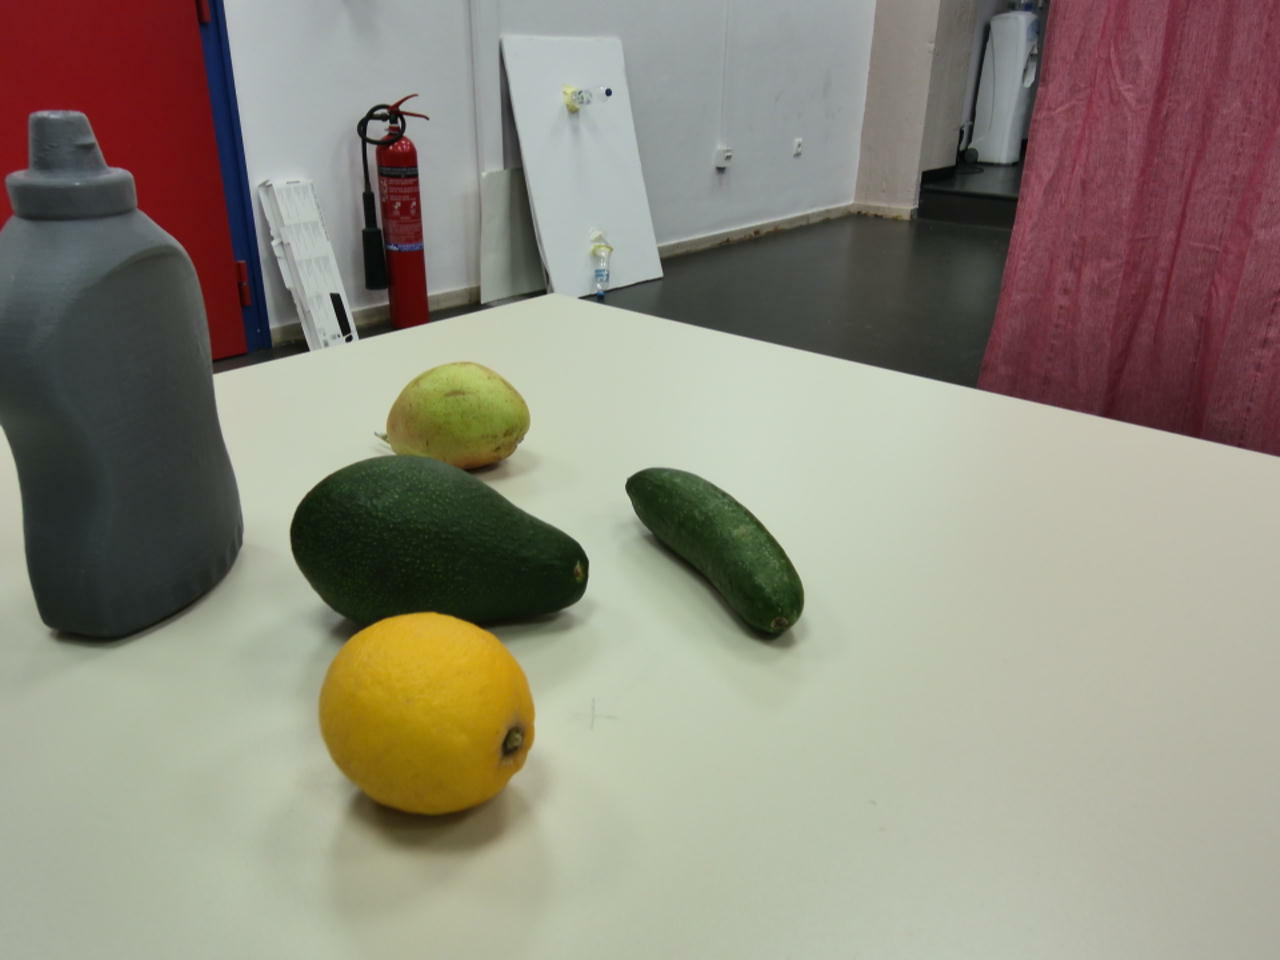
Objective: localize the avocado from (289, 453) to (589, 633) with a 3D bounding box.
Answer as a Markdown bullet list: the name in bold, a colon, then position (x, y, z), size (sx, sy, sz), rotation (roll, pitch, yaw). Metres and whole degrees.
- **avocado**: position (-0.081, 0.026, 0.398), size (0.110, 0.071, 0.072), rotation (7, 23, 14)
